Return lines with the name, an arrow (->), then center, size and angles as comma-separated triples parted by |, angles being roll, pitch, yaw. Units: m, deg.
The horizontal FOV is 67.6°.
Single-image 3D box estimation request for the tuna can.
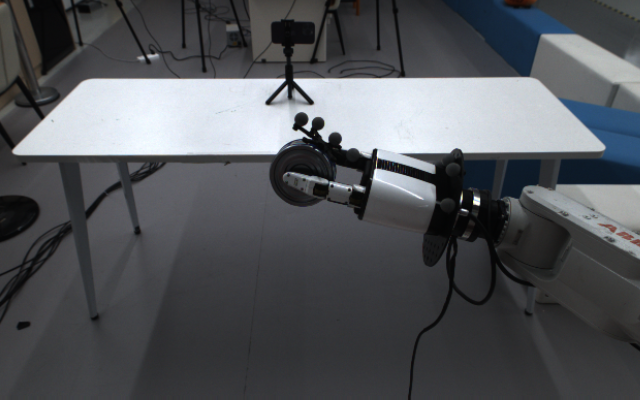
tuna can -> -0.021, -0.036, 0.637 | 0.085, 0.085, 0.034 | 6, 19, 6
